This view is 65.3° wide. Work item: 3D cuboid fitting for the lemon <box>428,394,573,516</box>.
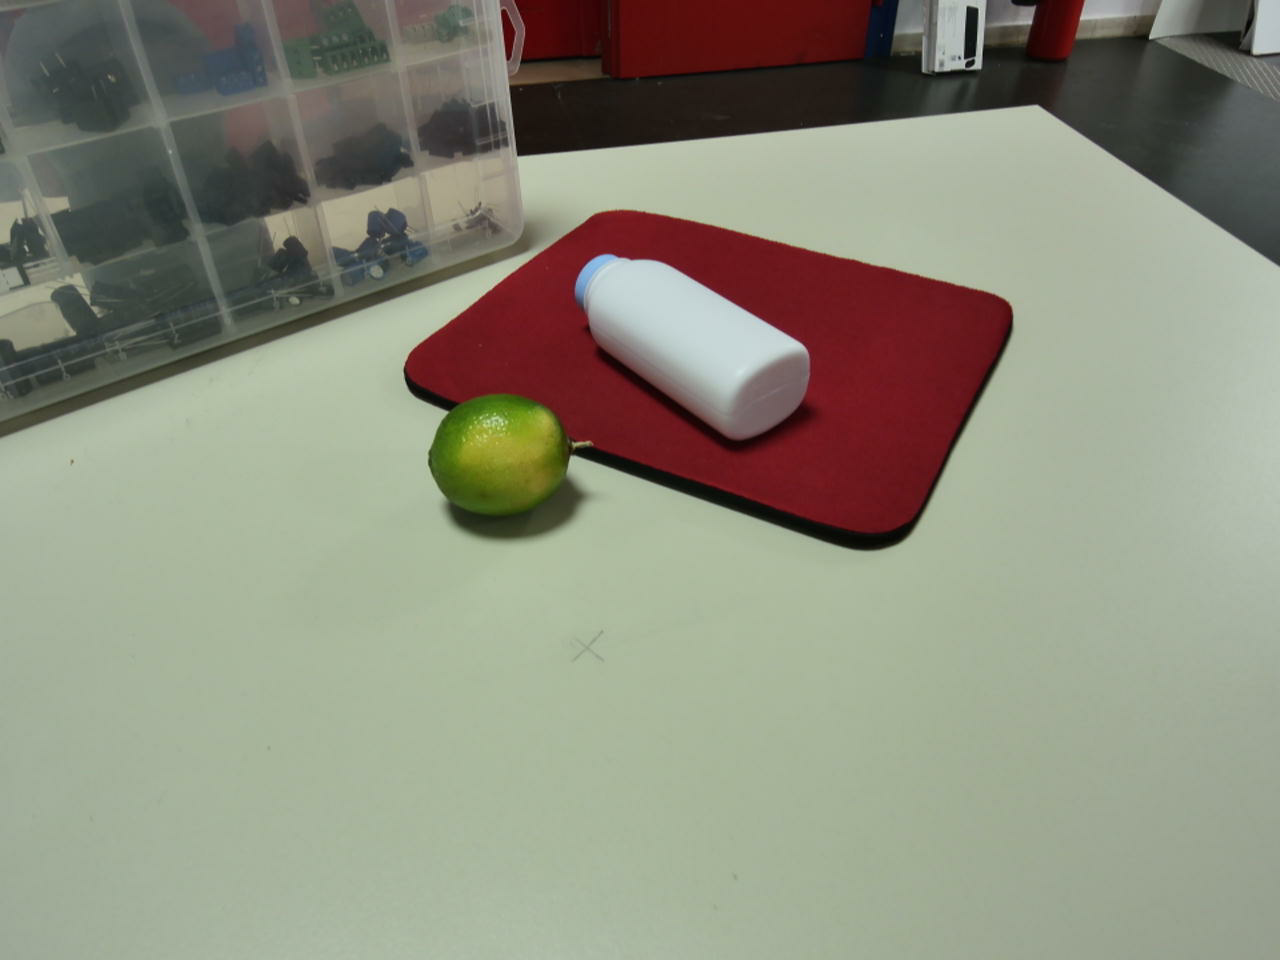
[{"bbox_3d":[-0.059,-0.010,0.421,0.055,0.050,0.054,26,44,28],"label":"lemon"}]
